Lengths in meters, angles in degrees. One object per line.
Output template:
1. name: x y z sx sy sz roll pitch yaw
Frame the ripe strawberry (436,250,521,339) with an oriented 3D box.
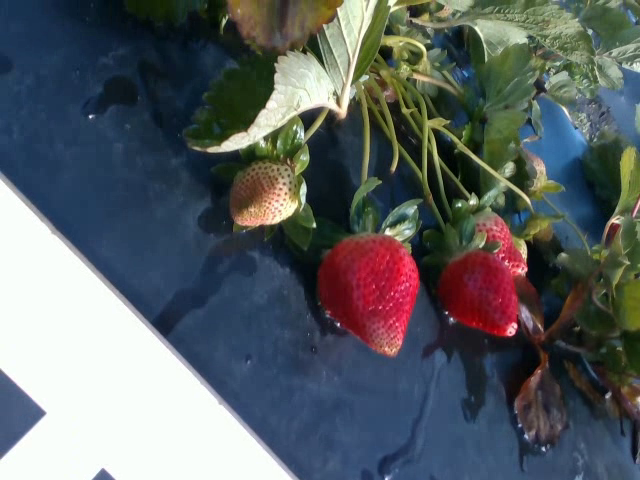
1. ripe strawberry: 0.085 0.032 0.326 0.044 0.041 0.055 -17 44 -15

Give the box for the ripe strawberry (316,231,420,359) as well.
1. ripe strawberry: 0.024 0.024 0.266 0.050 0.050 0.065 8 33 -15
